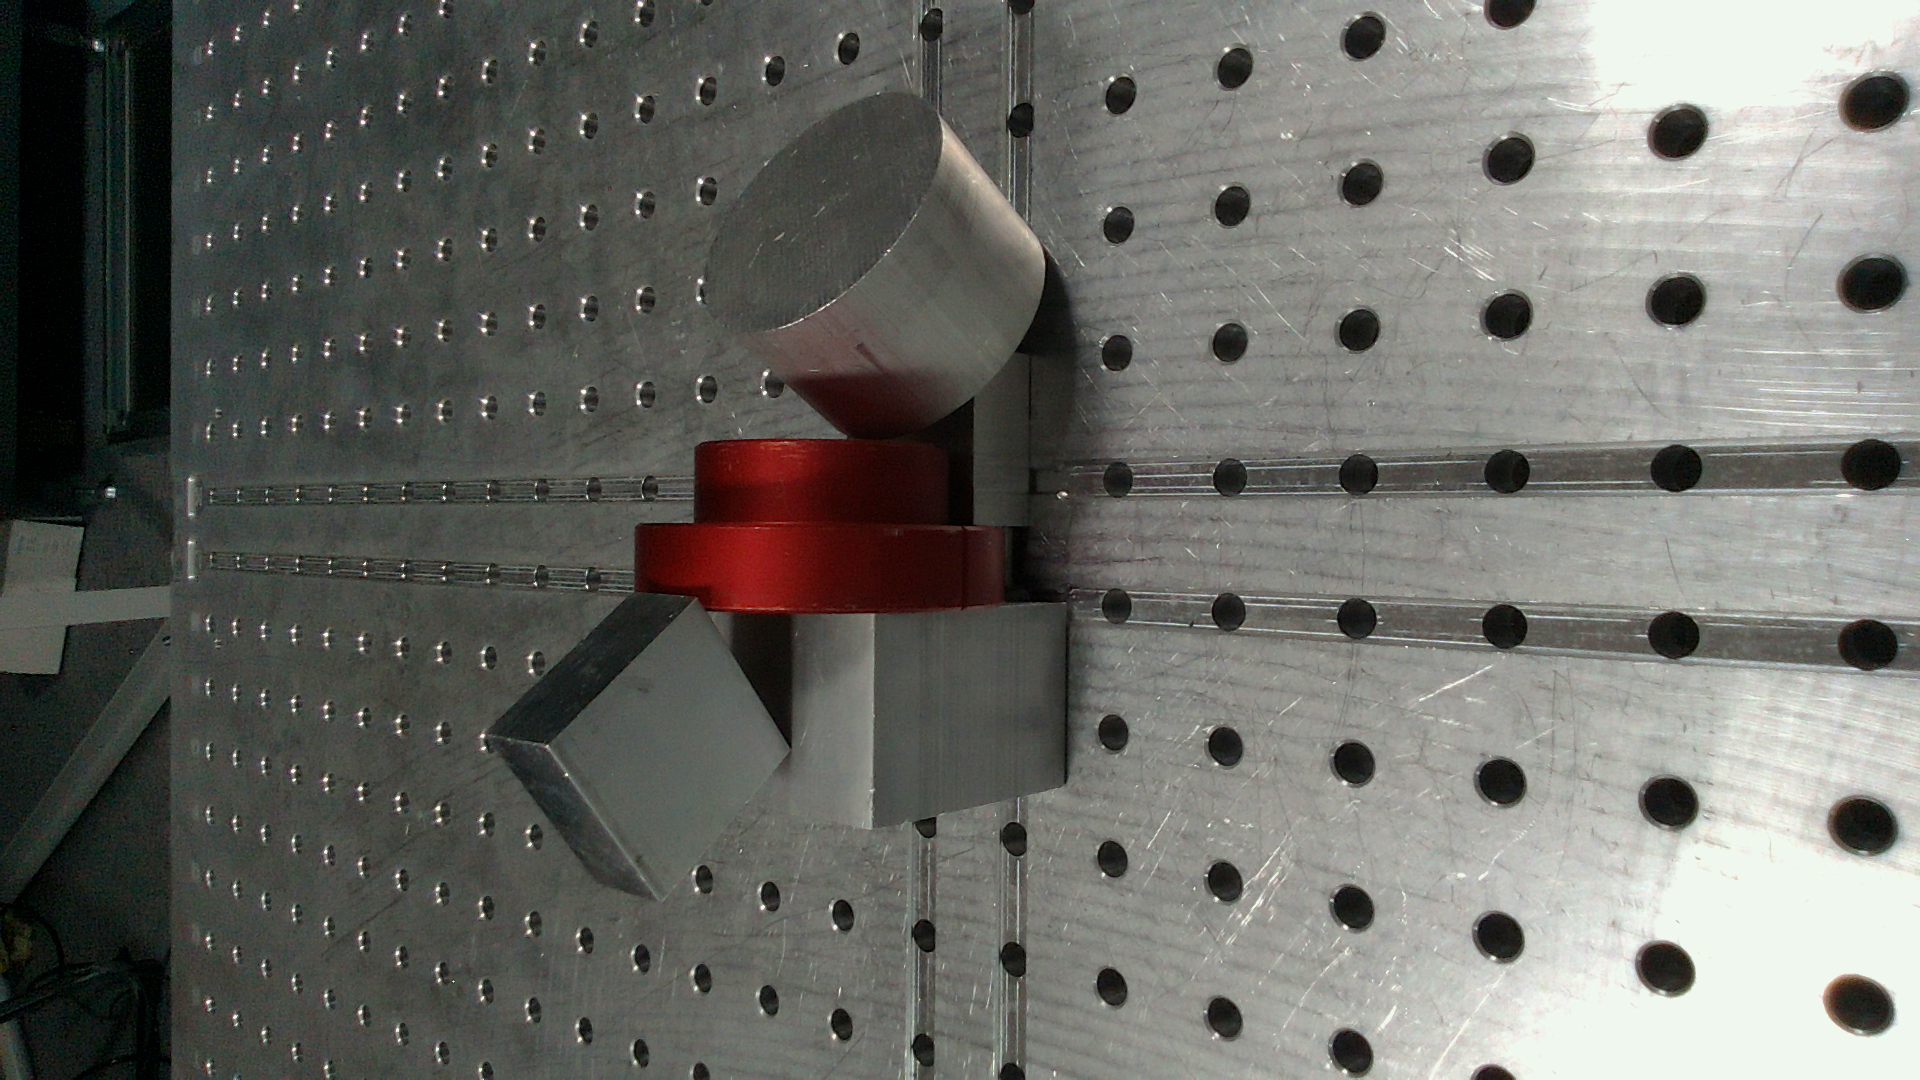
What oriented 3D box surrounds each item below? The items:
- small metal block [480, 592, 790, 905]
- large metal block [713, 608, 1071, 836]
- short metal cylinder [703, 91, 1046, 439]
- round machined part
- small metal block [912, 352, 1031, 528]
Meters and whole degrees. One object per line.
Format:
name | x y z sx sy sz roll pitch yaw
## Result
small metal block | -0.075 0.048 0.325 0.025 0.050 0.050 1 129 40
large metal block | -0.025 0.044 0.382 0.080 0.080 0.050 1 91 40
short metal cylinder | -0.024 -0.075 0.379 0.080 0.050 0.080 -21 48 26
round machined part | -0.037 -0.004 0.367 0.098 0.098 0.042 1 91 40
small metal block | -0.007 -0.029 0.403 0.050 0.025 0.050 1 91 40
